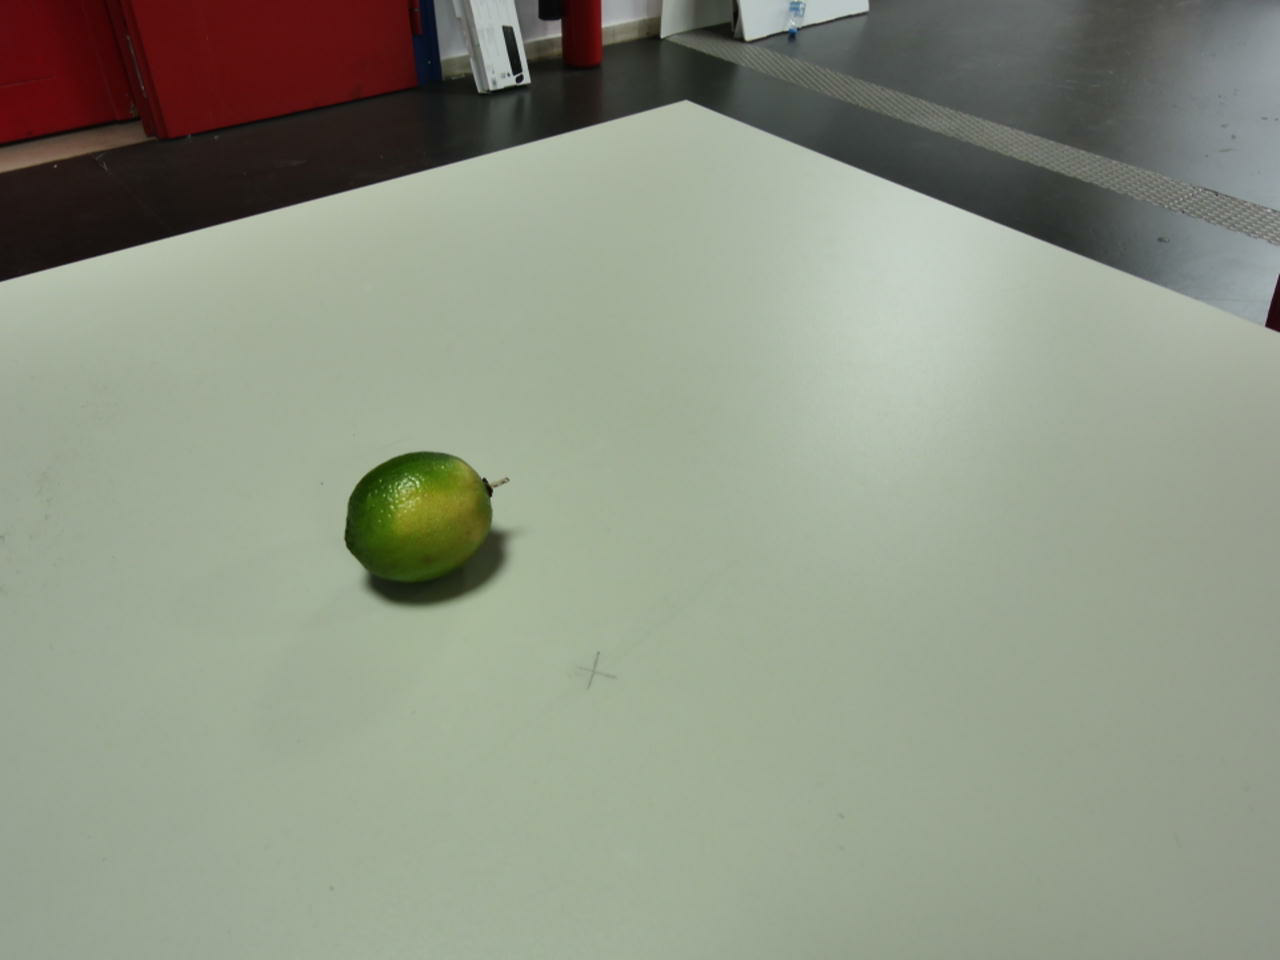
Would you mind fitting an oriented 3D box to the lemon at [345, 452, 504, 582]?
[{"bbox_3d":[-0.087,0.014,0.396,0.055,0.050,0.054,6,37,8],"label":"lemon"}]
